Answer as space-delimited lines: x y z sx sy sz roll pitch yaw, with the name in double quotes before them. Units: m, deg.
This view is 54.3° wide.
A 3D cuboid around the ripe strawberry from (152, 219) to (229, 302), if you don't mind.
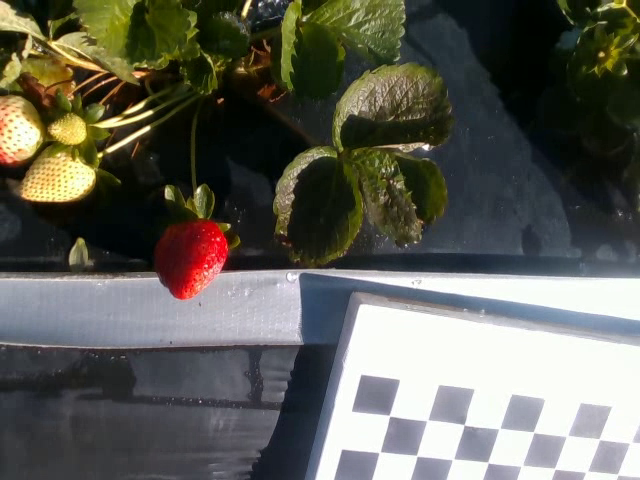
"ripe strawberry" -0.055 0.011 0.255 0.036 0.038 0.046 9 30 -10
